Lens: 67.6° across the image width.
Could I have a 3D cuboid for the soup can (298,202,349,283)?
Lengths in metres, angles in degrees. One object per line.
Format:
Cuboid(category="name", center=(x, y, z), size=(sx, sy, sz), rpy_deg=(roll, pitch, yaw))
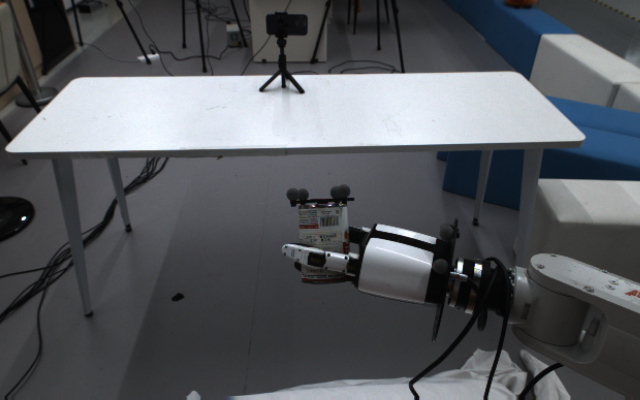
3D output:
Cuboid(category="soup can", center=(0.007, 0.057, 0.642), size=(0.067, 0.101, 0.067), rpy_deg=(-3, -1, 0))
